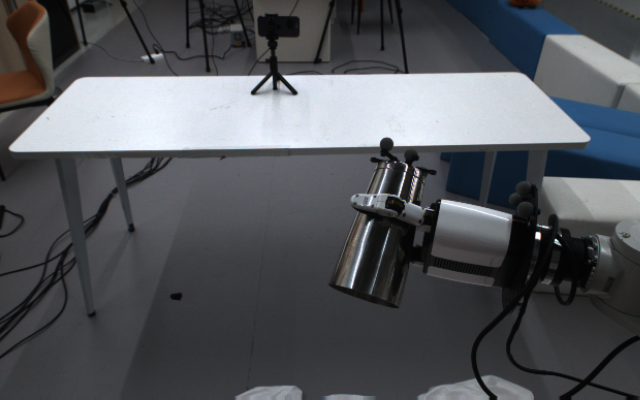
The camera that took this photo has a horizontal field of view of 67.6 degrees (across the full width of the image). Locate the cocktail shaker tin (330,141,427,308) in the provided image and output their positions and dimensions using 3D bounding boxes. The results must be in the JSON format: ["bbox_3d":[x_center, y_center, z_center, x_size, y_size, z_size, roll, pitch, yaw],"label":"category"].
[{"bbox_3d":[0.081,0.040,0.612,0.093,0.093,0.170,14,75,17],"label":"cocktail shaker tin"}]
